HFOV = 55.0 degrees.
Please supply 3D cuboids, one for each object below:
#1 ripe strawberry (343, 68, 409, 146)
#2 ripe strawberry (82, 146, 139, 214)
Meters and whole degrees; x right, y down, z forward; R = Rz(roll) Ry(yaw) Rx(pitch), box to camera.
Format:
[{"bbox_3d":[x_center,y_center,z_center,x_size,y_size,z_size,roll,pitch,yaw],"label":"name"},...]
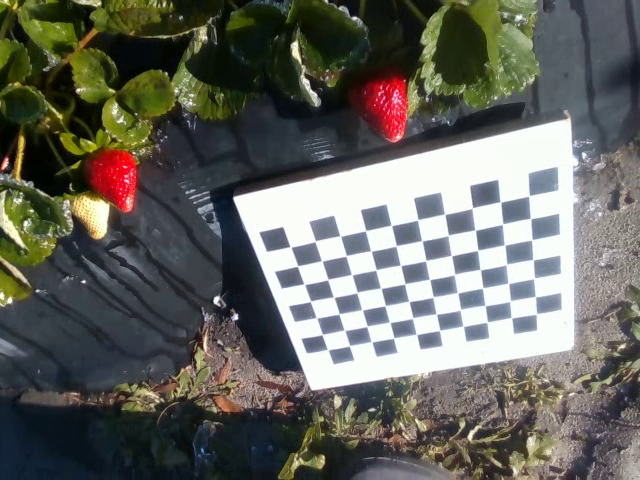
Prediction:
[{"bbox_3d":[0.049,-0.098,0.465,0.048,0.061,0.044,-17,3,13],"label":"ripe strawberry"},{"bbox_3d":[-0.168,-0.046,0.515,0.042,0.061,0.046,-24,-8,18],"label":"ripe strawberry"}]
